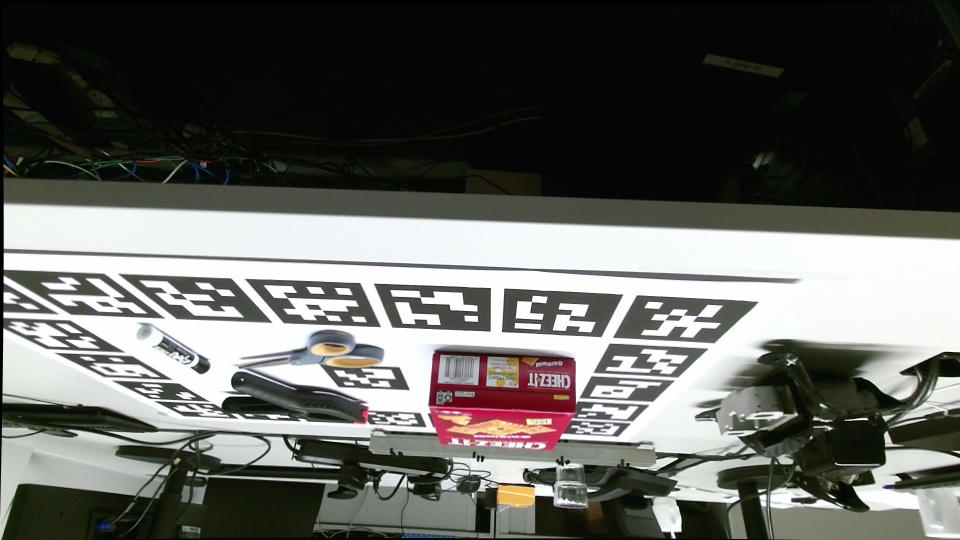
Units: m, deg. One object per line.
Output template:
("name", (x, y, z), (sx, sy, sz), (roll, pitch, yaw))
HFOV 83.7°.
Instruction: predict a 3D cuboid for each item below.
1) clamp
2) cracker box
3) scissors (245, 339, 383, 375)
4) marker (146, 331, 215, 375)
("clamp", (-0.258, 0.201, 0.805), (0.204, 0.036, 0.165), (19, 148, -24))
("cracker box", (0.023, 0.184, 0.689), (0.165, 0.071, 0.214), (3, 150, 1))
("scissors", (-0.209, 0.112, 0.638), (0.203, 0.016, 0.088), (-12, 148, 28))
("marker", (-0.352, 0.105, 0.638), (0.020, 0.019, 0.121), (0, 150, 5))
